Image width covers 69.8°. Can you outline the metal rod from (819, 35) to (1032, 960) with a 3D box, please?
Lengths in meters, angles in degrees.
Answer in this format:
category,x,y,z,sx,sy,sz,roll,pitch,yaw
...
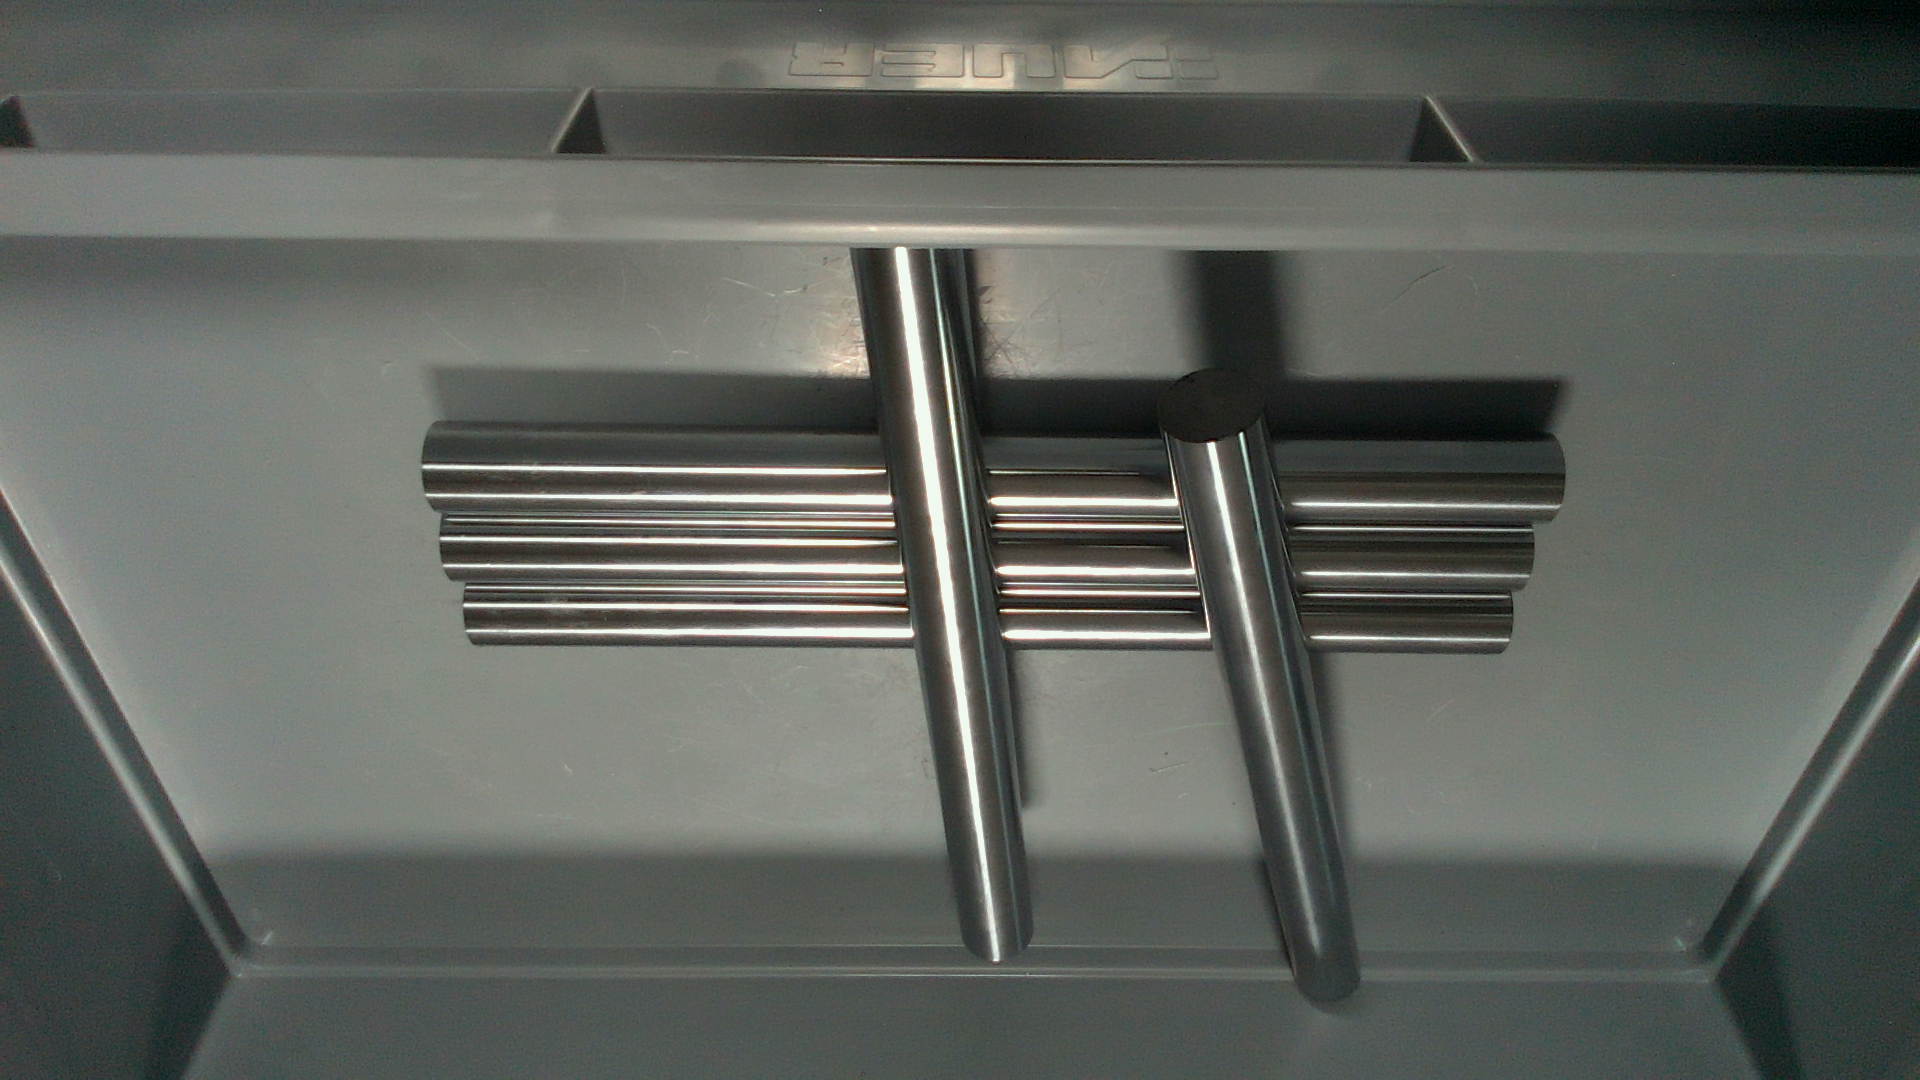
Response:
category,x,y,z,sx,sy,sz,roll,pitch,yaw
metal rod,-0.002,0.018,0.371,0.025,0.025,0.300,-4,130,3

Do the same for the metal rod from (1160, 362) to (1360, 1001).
category,x,y,z,sx,sy,sz,roll,pitch,yaw
metal rod,0.099,0.066,0.419,0.025,0.025,0.300,-12,136,10

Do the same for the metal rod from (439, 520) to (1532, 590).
category,x,y,z,sx,sy,sz,roll,pitch,yaw
metal rod,0.008,0.000,0.390,0.300,0.025,0.025,1,130,-1

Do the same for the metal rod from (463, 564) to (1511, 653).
category,x,y,z,sx,sy,sz,roll,pitch,yaw
metal rod,0.008,0.020,0.406,0.300,0.025,0.025,1,130,-1

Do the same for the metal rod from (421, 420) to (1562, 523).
category,x,y,z,sx,sy,sz,roll,pitch,yaw
metal rod,0.009,-0.019,0.374,0.300,0.025,0.025,1,130,-1
